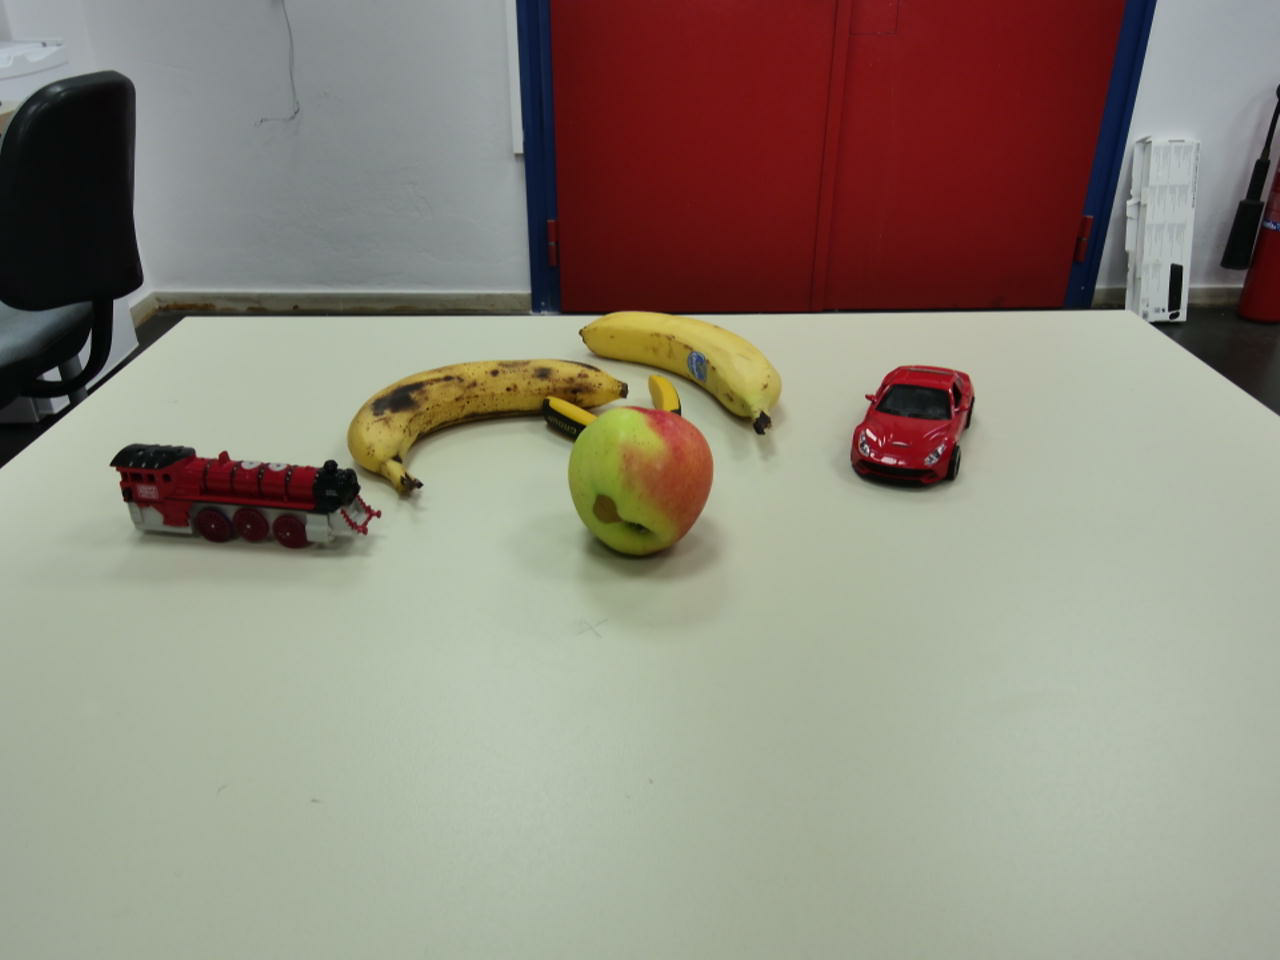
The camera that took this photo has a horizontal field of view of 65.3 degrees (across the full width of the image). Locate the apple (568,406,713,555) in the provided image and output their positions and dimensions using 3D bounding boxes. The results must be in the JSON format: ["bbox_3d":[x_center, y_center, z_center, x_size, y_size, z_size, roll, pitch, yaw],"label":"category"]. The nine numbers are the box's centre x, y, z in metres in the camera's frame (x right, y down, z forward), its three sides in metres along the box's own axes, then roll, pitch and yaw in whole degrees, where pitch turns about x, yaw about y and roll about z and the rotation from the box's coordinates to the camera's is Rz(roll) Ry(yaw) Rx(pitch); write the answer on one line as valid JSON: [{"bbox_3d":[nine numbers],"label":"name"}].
[{"bbox_3d":[0.001,0.000,0.510,0.075,0.074,0.075,-8,27,-18],"label":"apple"}]
